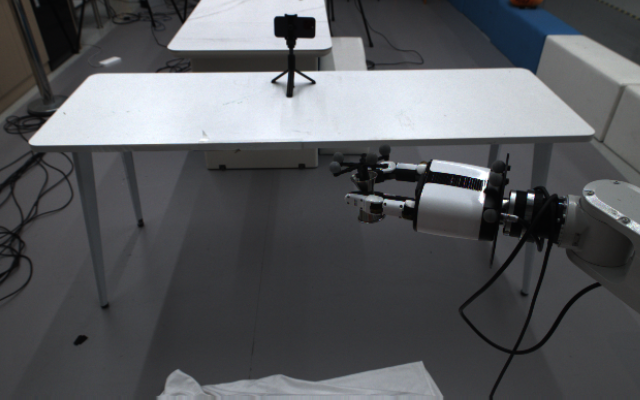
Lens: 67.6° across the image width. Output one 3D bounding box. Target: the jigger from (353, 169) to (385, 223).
[{"bbox_3d":[0.071,-0.006,0.720,0.043,0.071,0.043,-11,24,5],"label":"jigger"}]
